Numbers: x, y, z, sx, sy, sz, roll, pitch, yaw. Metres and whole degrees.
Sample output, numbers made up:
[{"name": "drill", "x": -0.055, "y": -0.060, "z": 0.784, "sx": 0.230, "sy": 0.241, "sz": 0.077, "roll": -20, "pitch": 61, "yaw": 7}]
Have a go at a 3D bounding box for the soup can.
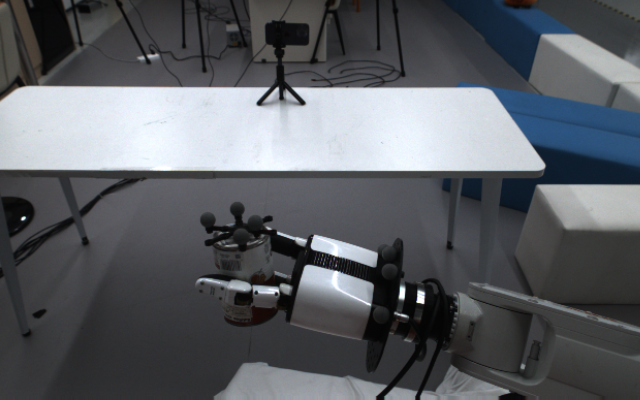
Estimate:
[{"name": "soup can", "x": -0.084, "y": 0.087, "z": 0.566, "sx": 0.067, "sy": 0.101, "sz": 0.067, "roll": -4, "pitch": 21, "yaw": 1}]
